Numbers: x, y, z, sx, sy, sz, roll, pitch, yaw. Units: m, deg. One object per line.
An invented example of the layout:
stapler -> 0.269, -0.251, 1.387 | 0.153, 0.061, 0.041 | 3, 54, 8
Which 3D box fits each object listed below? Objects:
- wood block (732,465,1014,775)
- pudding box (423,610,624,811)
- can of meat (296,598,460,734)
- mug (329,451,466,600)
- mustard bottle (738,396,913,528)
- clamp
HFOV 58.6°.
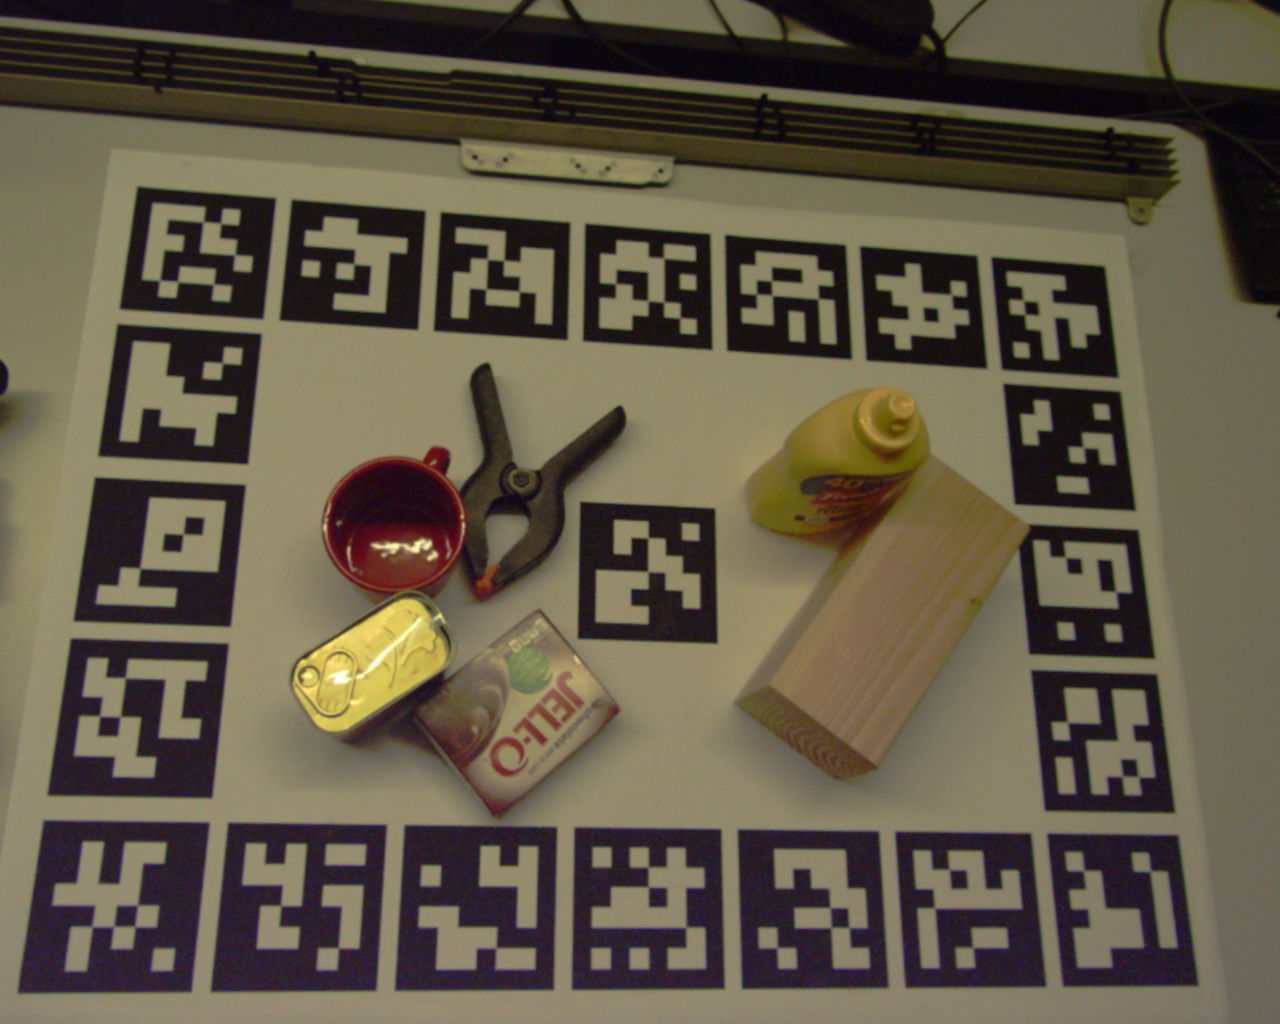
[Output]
wood block -> 0.169, 0.079, 0.833 | 0.090, 0.091, 0.205 | 37, 70, 4
pudding box -> -0.082, 0.139, 0.801 | 0.113, 0.039, 0.090 | -38, 84, -18
can of meat -> -0.174, 0.107, 0.767 | 0.101, 0.084, 0.058 | -28, 82, -15
mug -> -0.168, 0.011, 0.825 | 0.093, 0.081, 0.117 | 24, 74, -2
mustard bottle -> 0.137, -0.037, 0.802 | 0.096, 0.192, 0.058 | -2, 76, -10
clamp -> -0.088, -0.023, 0.851 | 0.121, 0.037, 0.165 | 21, 74, -4
